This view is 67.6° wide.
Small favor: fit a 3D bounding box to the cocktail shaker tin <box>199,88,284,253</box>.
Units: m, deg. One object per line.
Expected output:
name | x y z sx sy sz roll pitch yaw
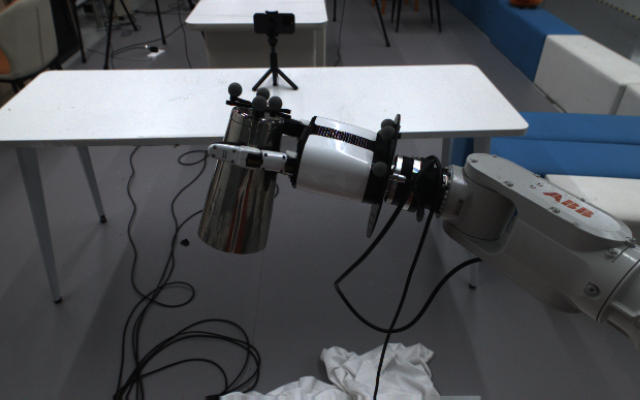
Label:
cocktail shaker tin | -0.094 -0.030 0.621 0.093 0.170 0.093 13 19 -5
